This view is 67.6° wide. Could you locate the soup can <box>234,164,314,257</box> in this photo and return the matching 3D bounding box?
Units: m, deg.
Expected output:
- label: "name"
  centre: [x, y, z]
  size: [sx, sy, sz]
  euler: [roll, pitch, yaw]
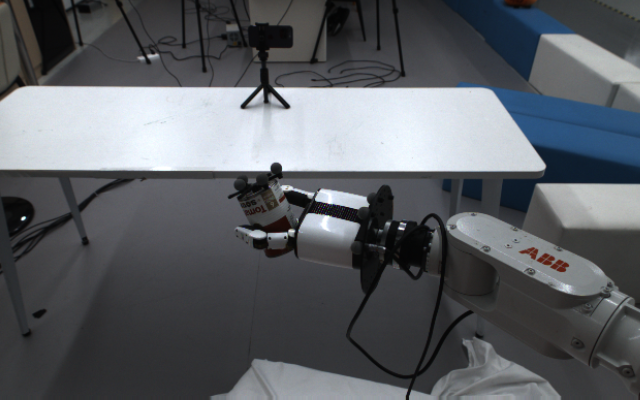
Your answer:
- label: "soup can"
  centre: [-0.072, 0.028, 0.732]
  size: [0.067, 0.101, 0.067]
  euler: [-24, 16, 7]
